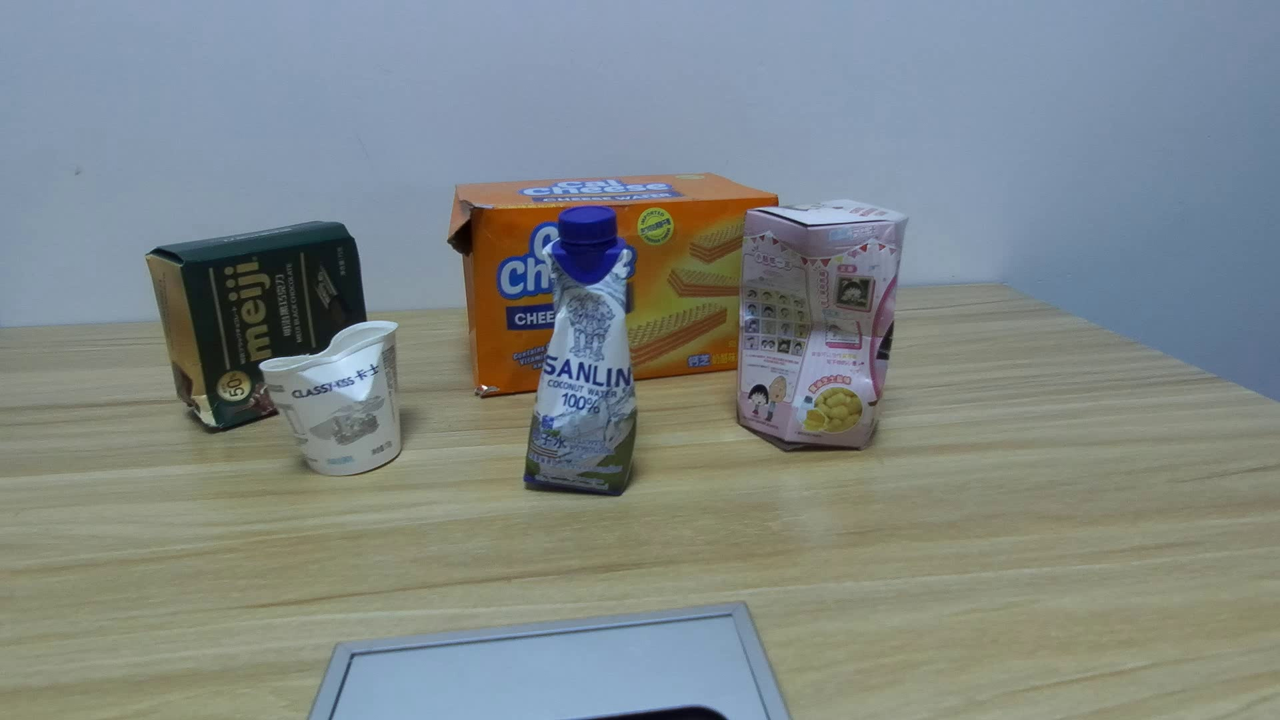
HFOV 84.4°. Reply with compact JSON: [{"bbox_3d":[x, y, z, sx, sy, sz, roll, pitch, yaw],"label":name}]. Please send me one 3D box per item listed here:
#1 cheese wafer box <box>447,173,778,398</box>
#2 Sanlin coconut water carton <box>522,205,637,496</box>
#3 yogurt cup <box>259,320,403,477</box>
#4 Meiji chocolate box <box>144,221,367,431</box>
[{"bbox_3d":[-0.025,-0.070,0.549,0.227,0.137,0.149,-5,22,-14],"label":"cheese wafer box"},{"bbox_3d":[-0.023,-0.006,0.376,0.057,0.144,0.068,8,13,3],"label":"Sanlin coconut water carton"},{"bbox_3d":[-0.167,0.021,0.398,0.053,0.071,0.075,0,22,1],"label":"yogurt cup"},{"bbox_3d":[-0.244,-0.027,0.467,0.058,0.116,0.123,17,26,36],"label":"Meiji chocolate box"}]
